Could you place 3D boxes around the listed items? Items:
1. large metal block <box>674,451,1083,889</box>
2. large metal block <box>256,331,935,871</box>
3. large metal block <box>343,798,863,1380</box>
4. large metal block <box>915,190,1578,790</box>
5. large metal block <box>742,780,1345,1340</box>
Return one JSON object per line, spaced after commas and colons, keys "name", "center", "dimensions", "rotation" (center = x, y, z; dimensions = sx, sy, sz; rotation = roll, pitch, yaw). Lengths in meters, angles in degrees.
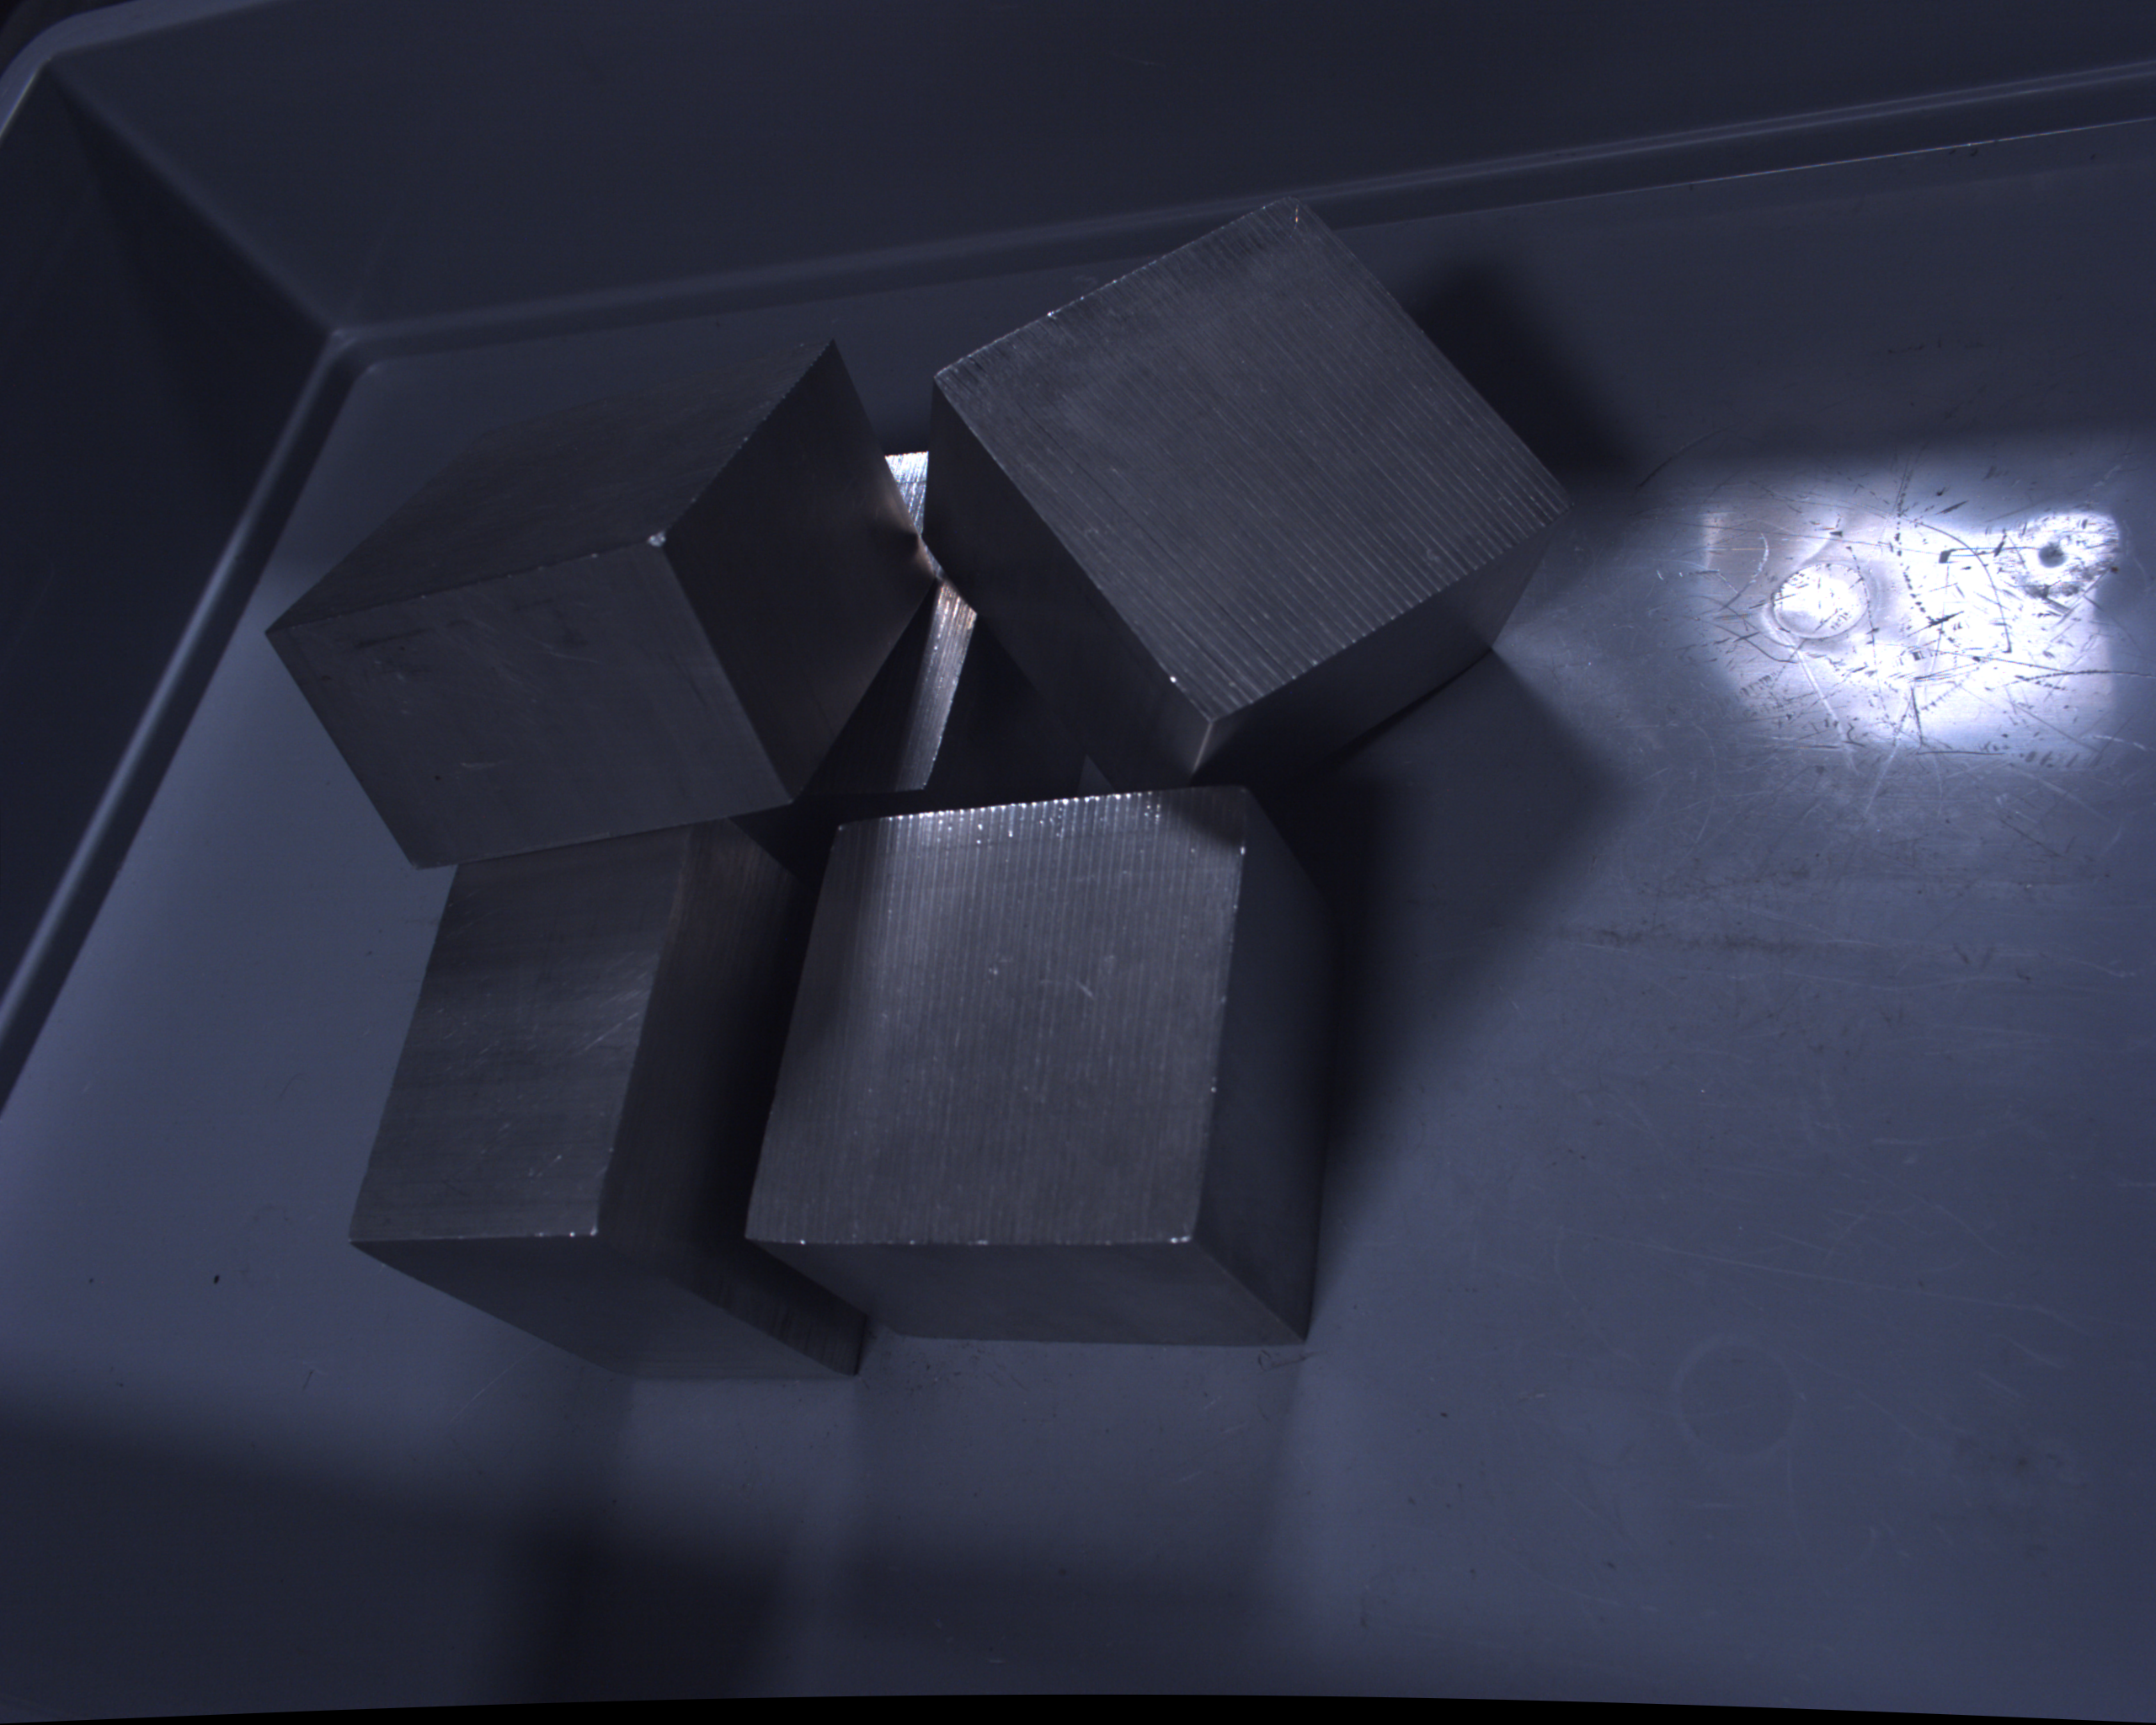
{"name": "large metal block", "center": [-0.044, -0.037, 0.432], "dimensions": [0.080, 0.050, 0.080], "rotation": [-1, 61, 27]}
{"name": "large metal block", "center": [-0.081, -0.047, 0.374], "dimensions": [0.080, 0.050, 0.080], "rotation": [-9, 33, 23]}
{"name": "large metal block", "center": [-0.076, 0.044, 0.380], "dimensions": [0.050, 0.080, 0.080], "rotation": [-6, 59, 25]}
{"name": "large metal block", "center": [0.027, -0.062, 0.378], "dimensions": [0.080, 0.050, 0.080], "rotation": [-32, 73, -19]}
{"name": "large metal block", "center": [-0.003, 0.036, 0.363], "dimensions": [0.080, 0.050, 0.080], "rotation": [-5, 59, 25]}
